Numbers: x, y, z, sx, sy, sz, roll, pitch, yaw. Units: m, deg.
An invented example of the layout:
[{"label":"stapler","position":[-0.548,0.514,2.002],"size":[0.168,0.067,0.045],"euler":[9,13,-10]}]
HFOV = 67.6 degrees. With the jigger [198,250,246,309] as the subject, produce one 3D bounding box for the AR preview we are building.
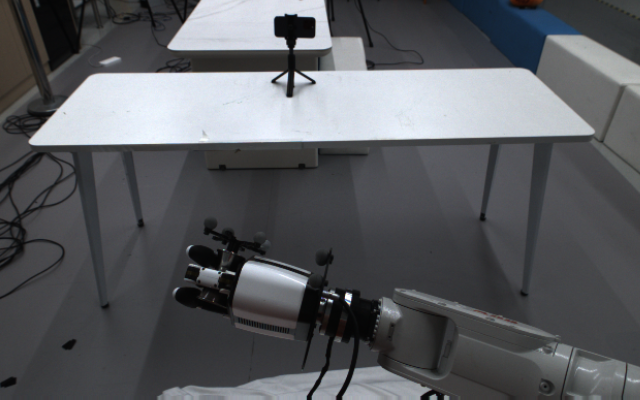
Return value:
[{"label":"jigger","position":[-0.125,0.103,0.633],"size":[0.043,0.043,0.071],"euler":[12,70,14]}]
